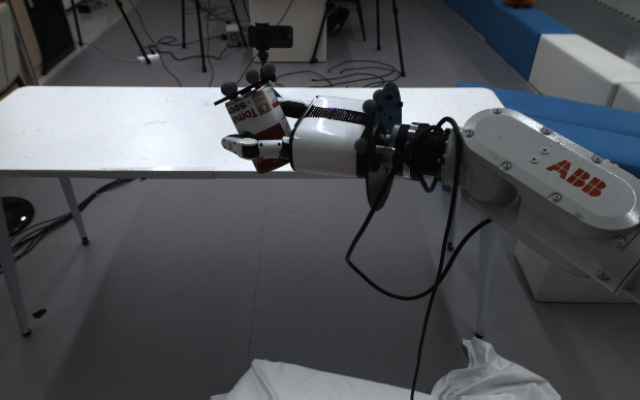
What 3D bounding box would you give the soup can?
[{"bbox_3d":[-0.073,-0.094,0.646,0.067,0.101,0.067,-23,15,7],"label":"soup can"}]
